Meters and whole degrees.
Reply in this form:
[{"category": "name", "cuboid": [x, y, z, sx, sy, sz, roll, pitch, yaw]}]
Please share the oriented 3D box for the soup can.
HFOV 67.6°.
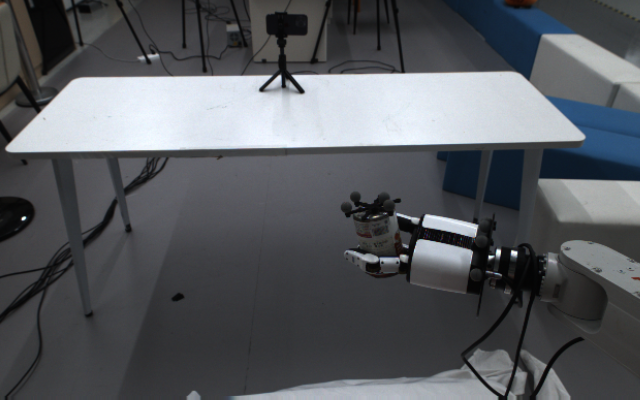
[{"category": "soup can", "cuboid": [0.095, 0.061, 0.756, 0.067, 0.101, 0.067, -13, 20, 5]}]
